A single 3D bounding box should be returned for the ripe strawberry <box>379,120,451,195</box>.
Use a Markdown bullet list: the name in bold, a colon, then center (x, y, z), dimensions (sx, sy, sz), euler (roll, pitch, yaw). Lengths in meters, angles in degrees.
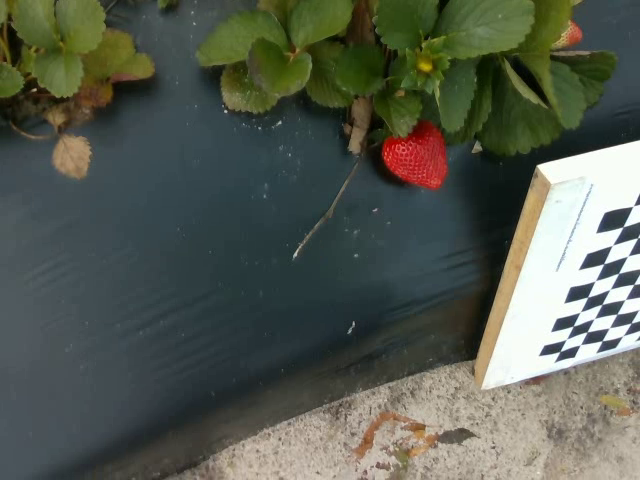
- **ripe strawberry**: center (0.054, -0.044, 0.371), dimensions (0.037, 0.046, 0.036), euler (-38, -2, 29)
